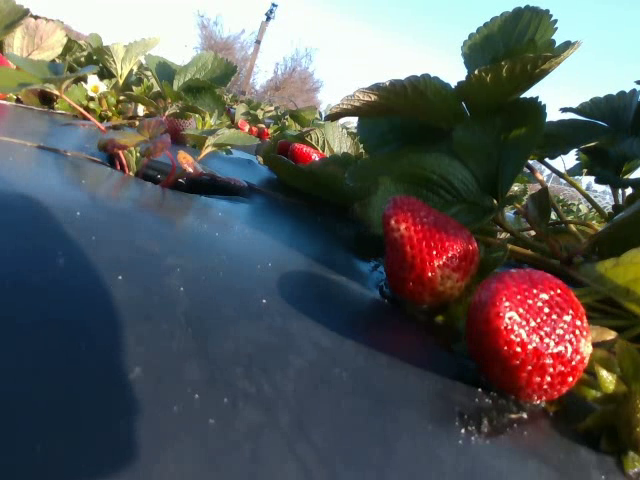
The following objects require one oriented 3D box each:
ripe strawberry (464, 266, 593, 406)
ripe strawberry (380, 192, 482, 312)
[{"bbox_3d":[0.060,0.024,0.177,0.038,0.043,0.053,-44,-34,13],"label":"ripe strawberry"},{"bbox_3d":[0.043,0.004,0.242,0.048,0.054,0.039,-43,2,-43],"label":"ripe strawberry"}]
